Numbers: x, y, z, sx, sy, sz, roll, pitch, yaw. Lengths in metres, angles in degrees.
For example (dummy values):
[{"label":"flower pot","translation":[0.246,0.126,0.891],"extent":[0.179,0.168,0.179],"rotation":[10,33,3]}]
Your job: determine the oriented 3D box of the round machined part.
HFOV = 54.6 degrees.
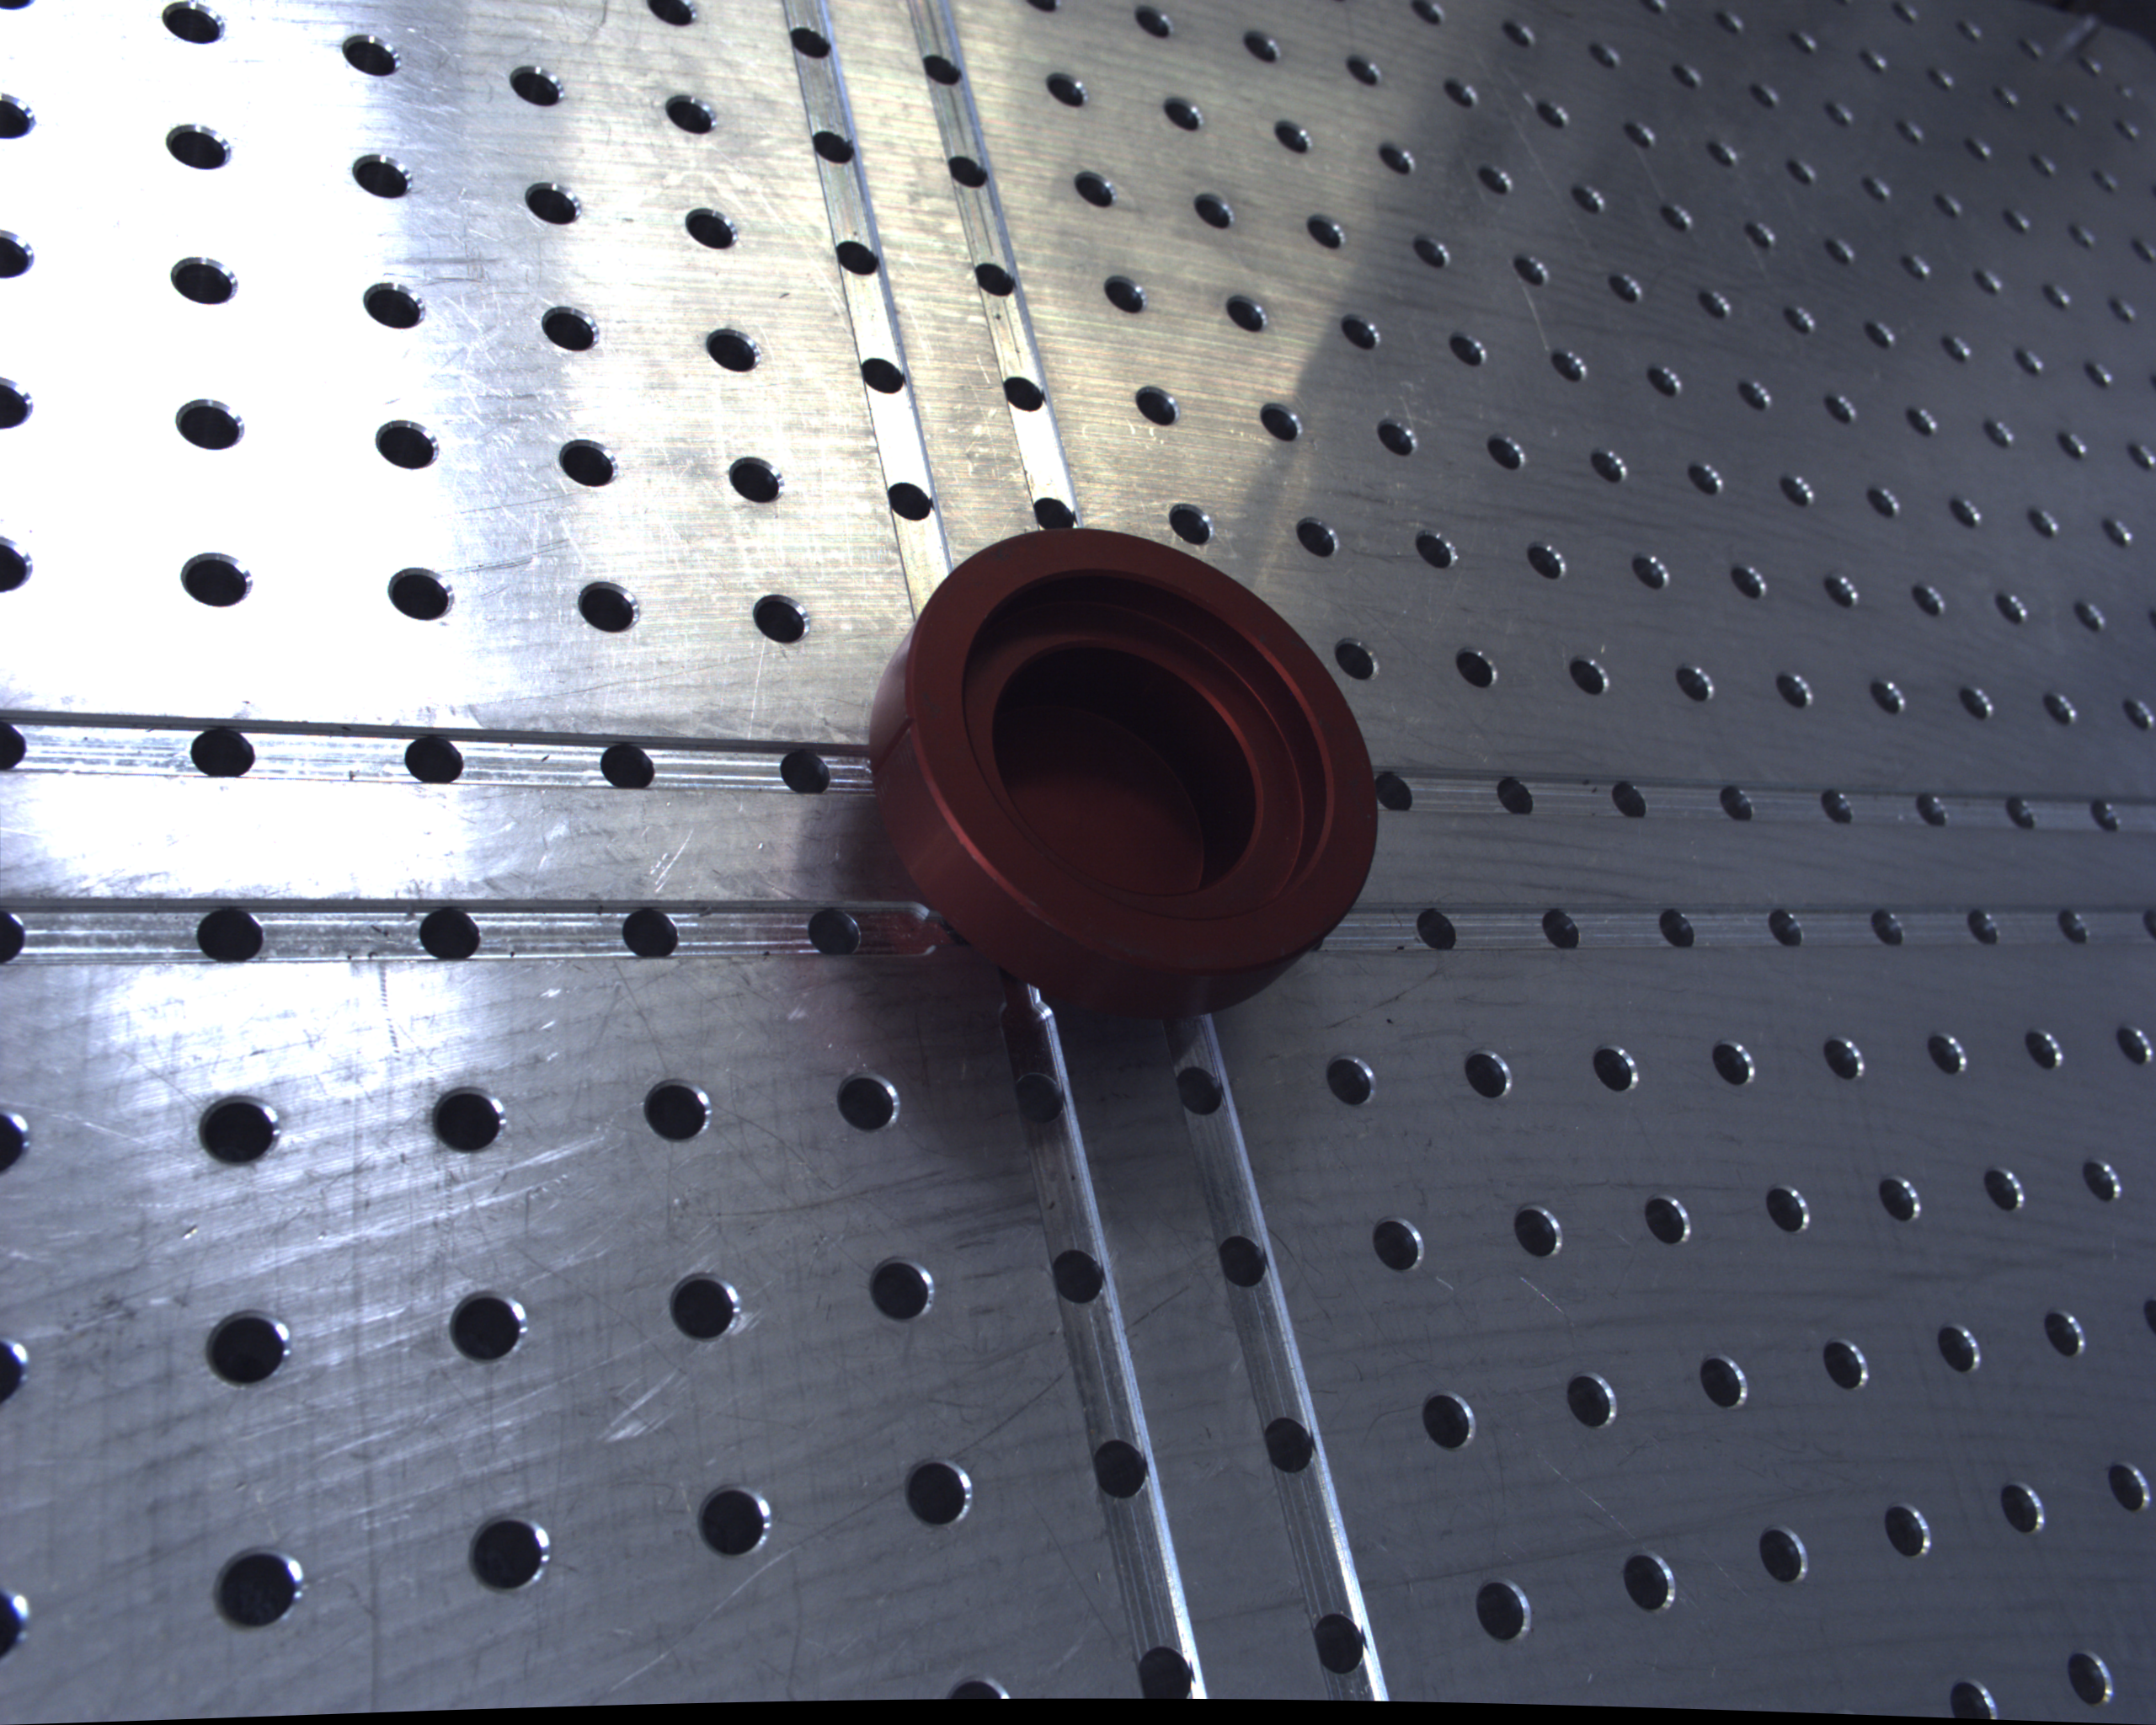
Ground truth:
[{"label":"round machined part","translation":[0.006,-0.014,0.407],"extent":[0.099,0.042,0.098],"rotation":[13,56,-21]}]
